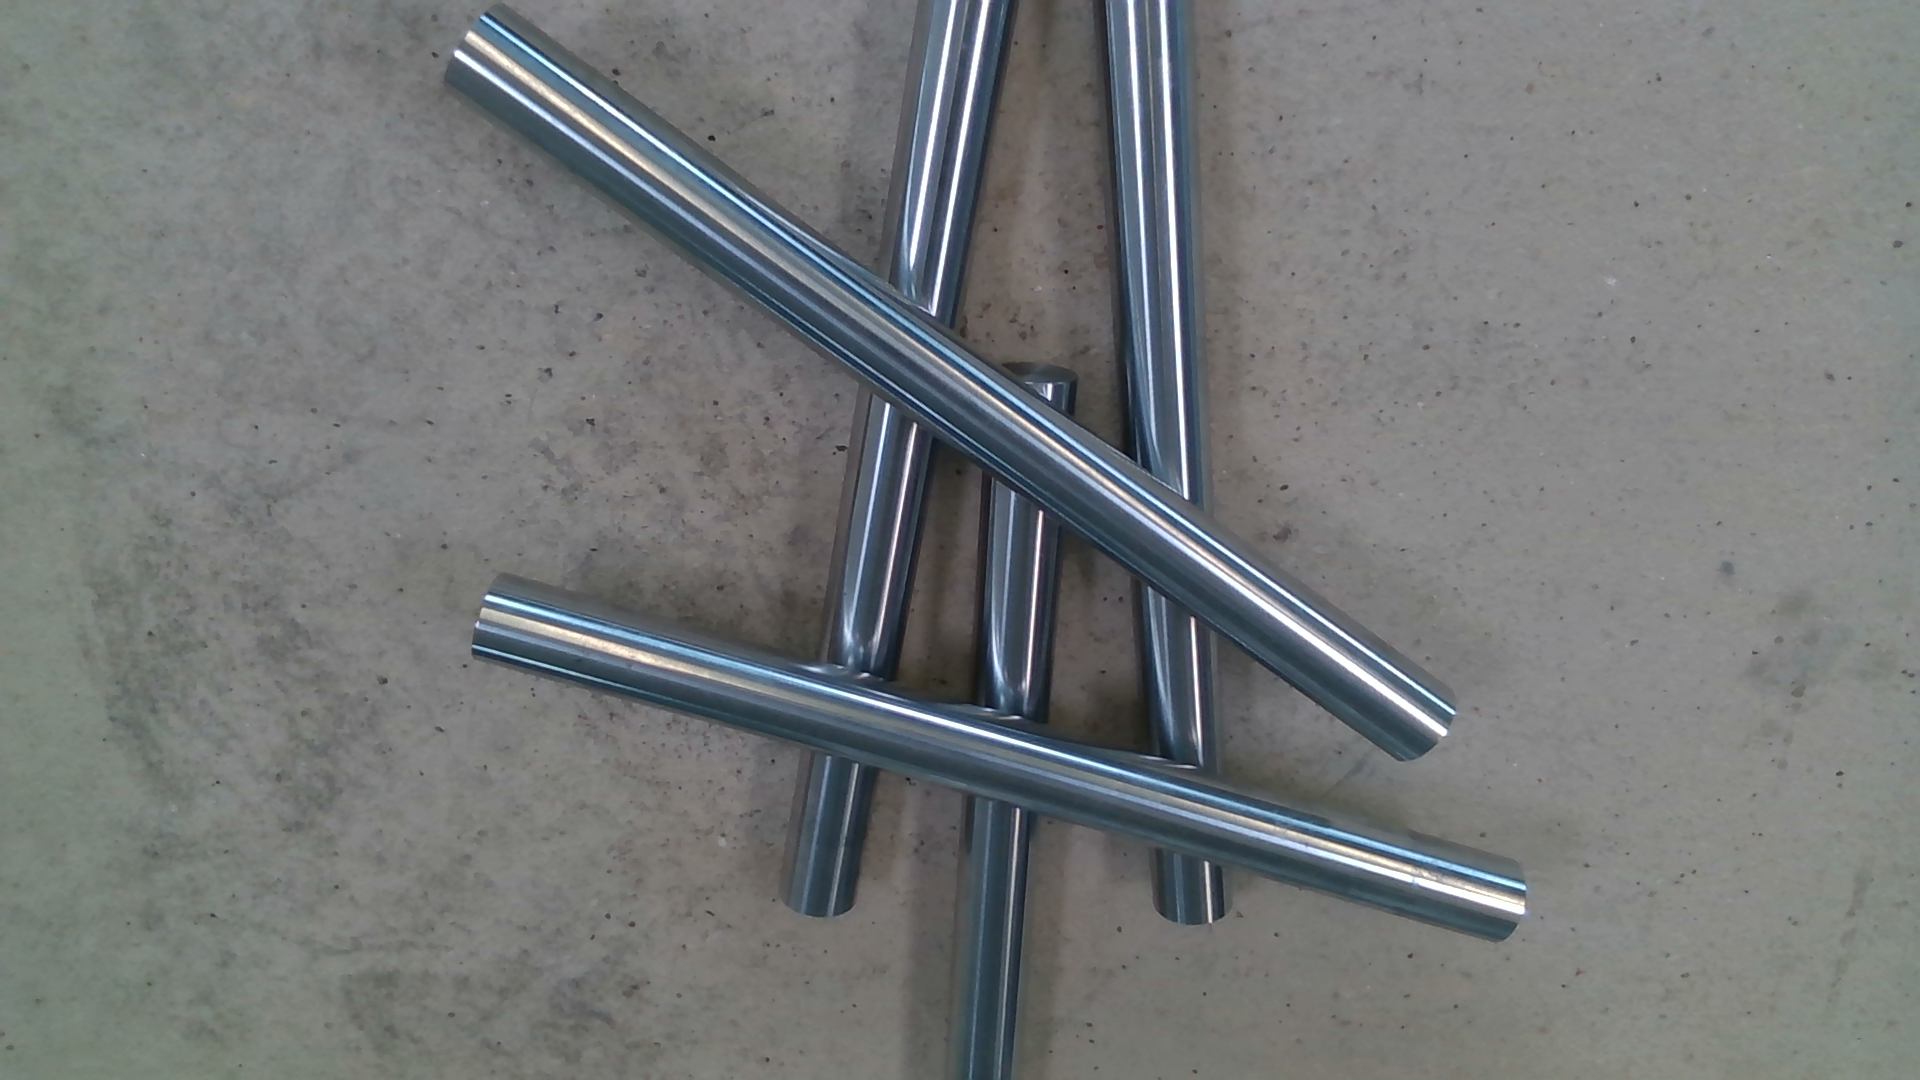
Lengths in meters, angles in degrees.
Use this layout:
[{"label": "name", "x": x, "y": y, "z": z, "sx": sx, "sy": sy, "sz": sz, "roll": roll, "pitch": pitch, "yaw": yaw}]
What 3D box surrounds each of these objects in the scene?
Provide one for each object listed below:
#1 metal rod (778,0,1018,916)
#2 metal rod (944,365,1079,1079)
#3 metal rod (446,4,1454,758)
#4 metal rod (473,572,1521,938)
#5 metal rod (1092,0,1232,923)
[{"label": "metal rod", "x": -0.019, "y": -0.028, "z": 0.383, "sx": 0.025, "sy": 0.025, "sz": 0.301, "roll": 10, "pitch": 110, "yaw": -3}, {"label": "metal rod", "x": 0.012, "y": 0.095, "z": 0.428, "sx": 0.025, "sy": 0.025, "sz": 0.301, "roll": 3, "pitch": 110, "yaw": -1}, {"label": "metal rod", "x": 0.008, "y": -0.033, "z": 0.355, "sx": 0.300, "sy": 0.025, "sz": 0.025, "roll": 34, "pitch": 106, "yaw": -12}, {"label": "metal rod", "x": 0.015, "y": 0.063, "z": 0.390, "sx": 0.300, "sy": 0.025, "sz": 0.025, "roll": 16, "pitch": 109, "yaw": -6}, {"label": "metal rod", "x": 0.058, "y": -0.027, "z": 0.384, "sx": 0.025, "sy": 0.025, "sz": 0.301, "roll": -6, "pitch": 110, "yaw": 2}]
